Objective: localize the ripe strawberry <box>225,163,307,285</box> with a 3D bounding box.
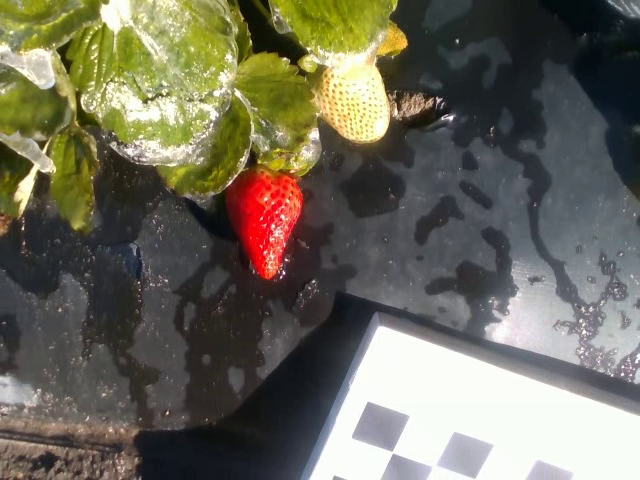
[{"bbox_3d":[-0.025,-0.003,0.280,0.041,0.052,0.040,3,10,-2],"label":"ripe strawberry"}]
